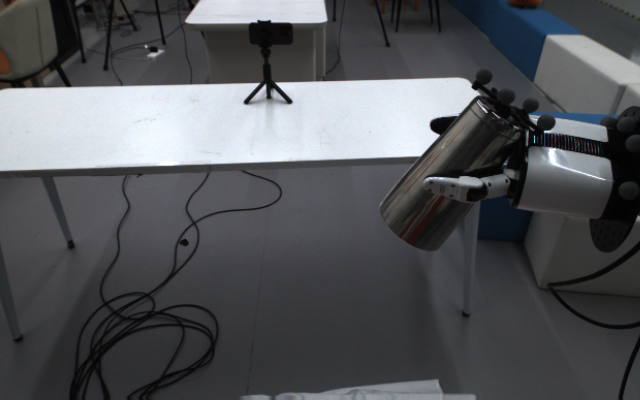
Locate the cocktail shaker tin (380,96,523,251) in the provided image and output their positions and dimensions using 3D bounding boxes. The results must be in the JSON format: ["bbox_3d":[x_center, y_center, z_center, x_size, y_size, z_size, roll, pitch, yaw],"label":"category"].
[{"bbox_3d":[0.155,-0.036,0.562,0.093,0.170,0.093,26,32,-17],"label":"cocktail shaker tin"}]
